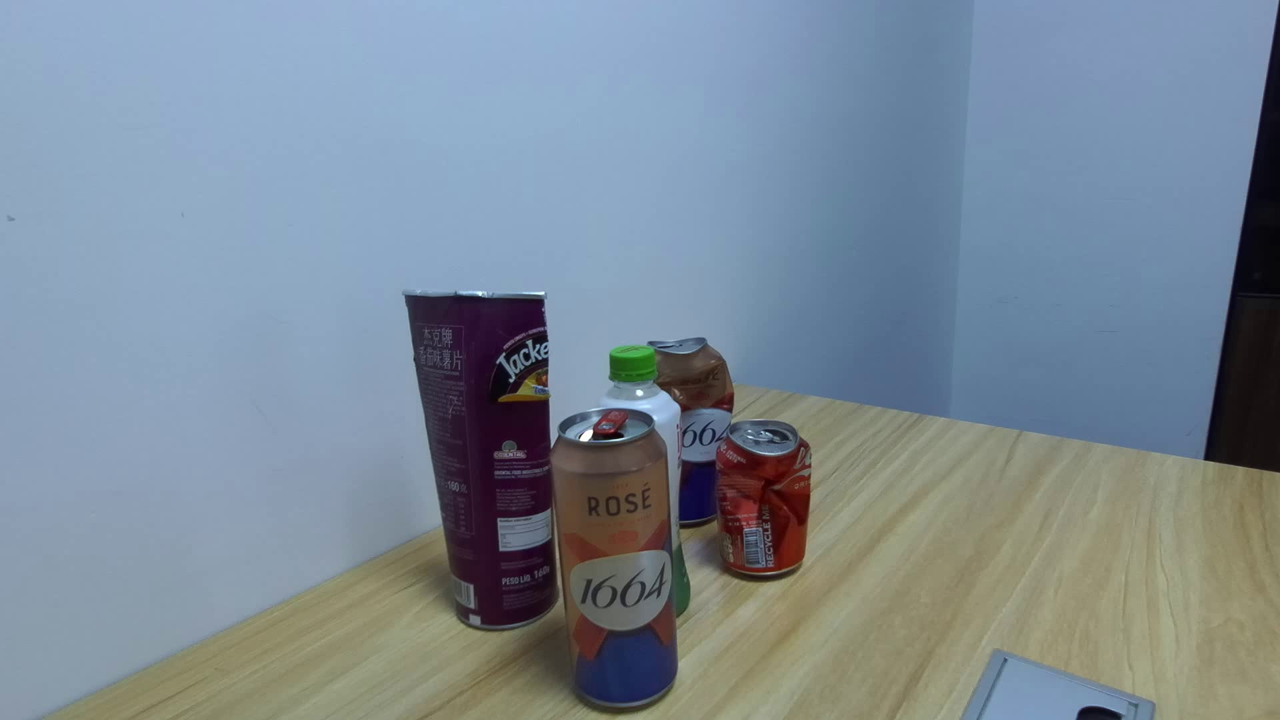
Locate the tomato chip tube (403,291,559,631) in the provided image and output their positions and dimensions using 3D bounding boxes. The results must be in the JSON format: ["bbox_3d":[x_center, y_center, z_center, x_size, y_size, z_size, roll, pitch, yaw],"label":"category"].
[{"bbox_3d":[-0.103,0.068,0.495,0.078,0.235,0.089,-10,14,-25],"label":"tomato chip tube"}]

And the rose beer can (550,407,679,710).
[{"bbox_3d":[-0.014,0.117,0.416,0.068,0.169,0.068,-2,14,1],"label":"rose beer can"}]

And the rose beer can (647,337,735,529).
[{"bbox_3d":[0.037,0.063,0.617,0.074,0.162,0.067,-14,15,-42],"label":"rose beer can"}]

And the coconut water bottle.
[{"bbox_3d":[0.000,0.085,0.492,0.063,0.188,0.063,-3,13,1],"label":"coconut water bottle"}]
